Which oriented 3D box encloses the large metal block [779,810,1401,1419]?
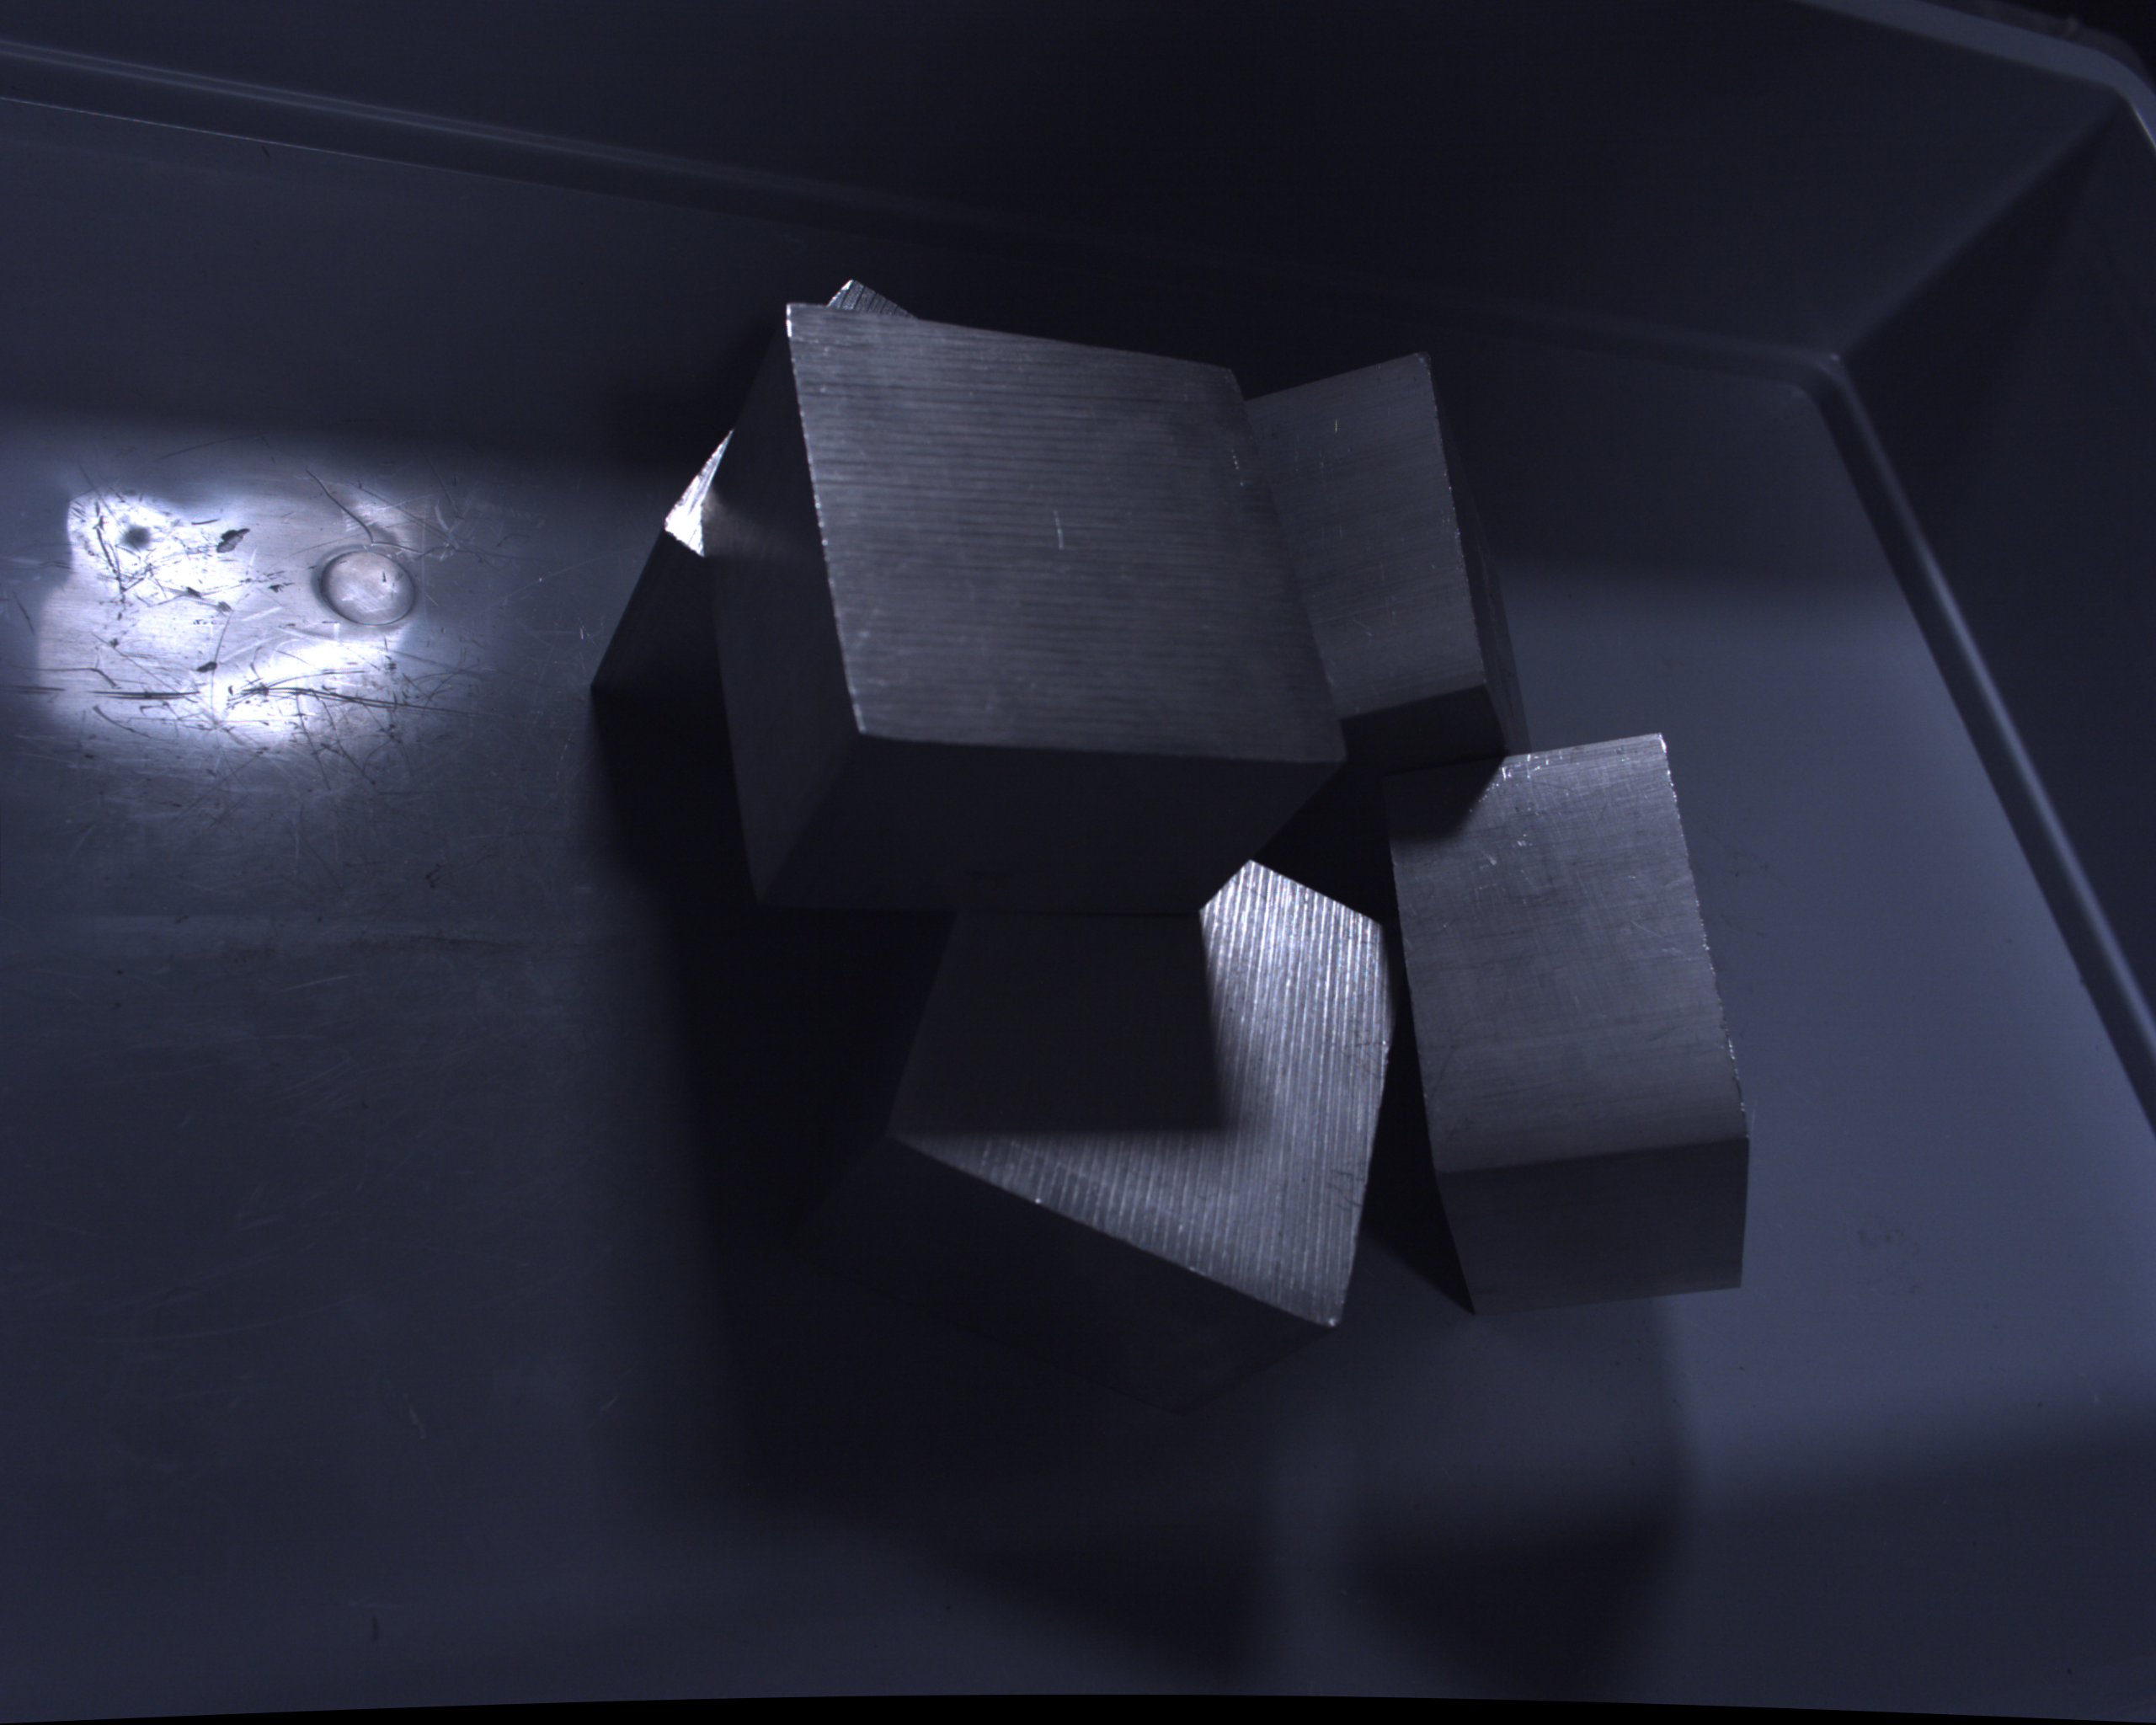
[{"bbox_3d":[0.005,0.039,0.364,0.080,0.050,0.080,27,52,-12],"label":"large metal block"}]

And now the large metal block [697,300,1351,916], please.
[{"bbox_3d":[-0.012,-0.039,0.340,0.081,0.050,0.080,2,60,-26],"label":"large metal block"}]

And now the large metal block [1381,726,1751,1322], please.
[{"bbox_3d":[0.091,0.033,0.391,0.050,0.080,0.080,-9,59,11],"label":"large metal block"}]

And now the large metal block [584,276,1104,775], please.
[{"bbox_3d":[-0.035,-0.053,0.403,0.080,0.050,0.080,32,51,-8],"label":"large metal block"}]

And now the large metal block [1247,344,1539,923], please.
[{"bbox_3d":[0.059,-0.042,0.419,0.080,0.050,0.080,53,29,-55],"label":"large metal block"}]
